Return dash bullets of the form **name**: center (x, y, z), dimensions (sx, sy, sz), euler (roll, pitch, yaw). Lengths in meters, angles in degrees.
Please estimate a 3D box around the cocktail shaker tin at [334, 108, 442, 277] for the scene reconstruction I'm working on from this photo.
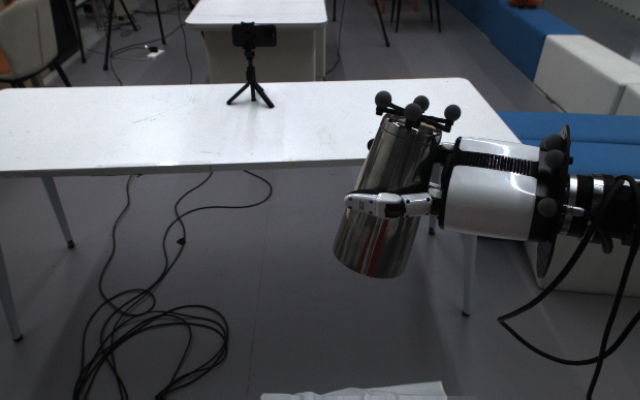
- **cocktail shaker tin**: center (0.082, -0.009, 0.552), dimensions (0.093, 0.170, 0.093), euler (12, 24, -5)
